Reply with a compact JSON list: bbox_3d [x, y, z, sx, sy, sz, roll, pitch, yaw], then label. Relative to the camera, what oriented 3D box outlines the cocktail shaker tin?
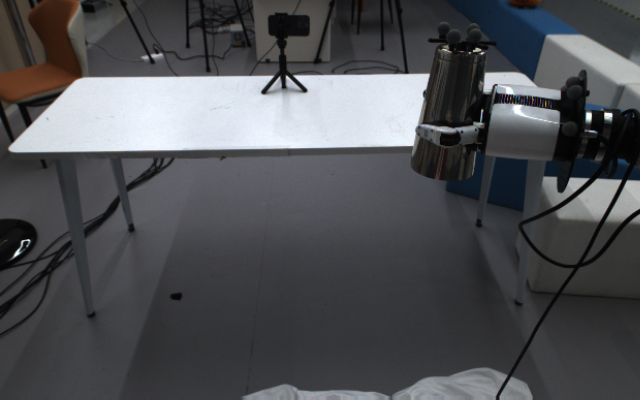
[{"bbox_3d":[0.184,-0.125,0.673,0.093,0.170,0.093,2,28,-1],"label":"cocktail shaker tin"}]
